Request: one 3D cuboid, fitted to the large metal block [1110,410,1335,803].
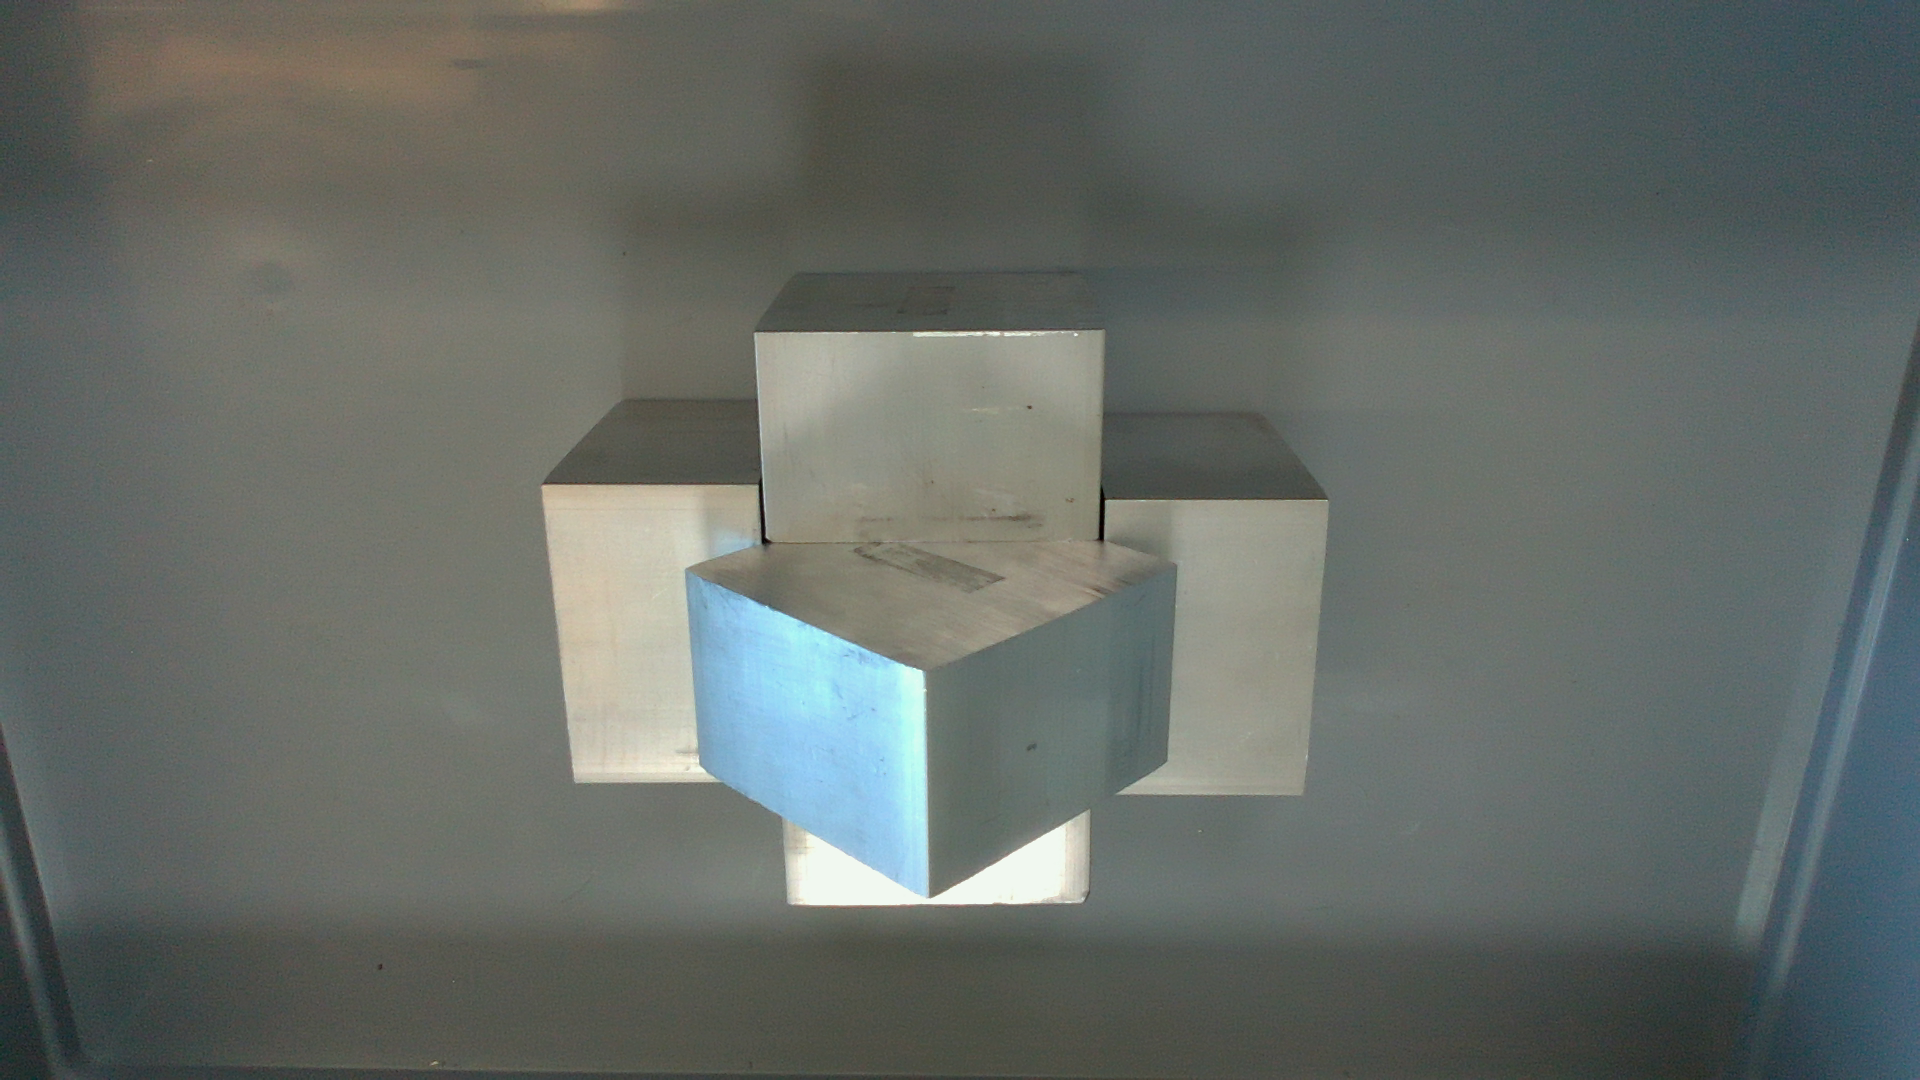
[{"bbox_3d":[0.061,0.014,0.367,0.050,0.080,0.080,0,110,0],"label":"large metal block"}]

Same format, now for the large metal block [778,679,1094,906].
[{"bbox_3d":[-0.006,0.057,0.385,0.080,0.080,0.050,0,110,0],"label":"large metal block"}]

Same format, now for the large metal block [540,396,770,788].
[{"bbox_3d":[-0.071,0.011,0.368,0.050,0.080,0.080,0,110,0],"label":"large metal block"}]

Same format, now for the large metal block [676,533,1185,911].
[{"bbox_3d":[-0.006,0.030,0.315,0.080,0.080,0.050,-19,117,-42],"label":"large metal block"}]

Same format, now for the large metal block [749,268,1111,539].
[{"bbox_3d":[-0.006,-0.038,0.350,0.080,0.080,0.050,0,110,0],"label":"large metal block"}]
